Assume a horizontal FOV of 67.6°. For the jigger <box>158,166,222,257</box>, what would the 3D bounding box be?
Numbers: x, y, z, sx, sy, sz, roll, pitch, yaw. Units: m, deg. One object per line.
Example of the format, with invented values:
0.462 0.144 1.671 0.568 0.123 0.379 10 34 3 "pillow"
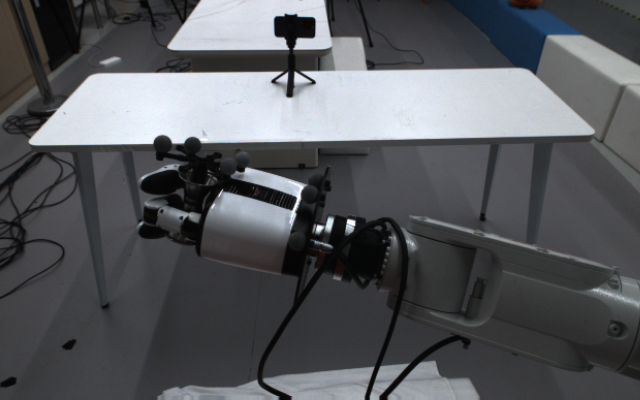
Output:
-0.131 0.008 0.513 0.043 0.071 0.043 15 17 -5 "jigger"
